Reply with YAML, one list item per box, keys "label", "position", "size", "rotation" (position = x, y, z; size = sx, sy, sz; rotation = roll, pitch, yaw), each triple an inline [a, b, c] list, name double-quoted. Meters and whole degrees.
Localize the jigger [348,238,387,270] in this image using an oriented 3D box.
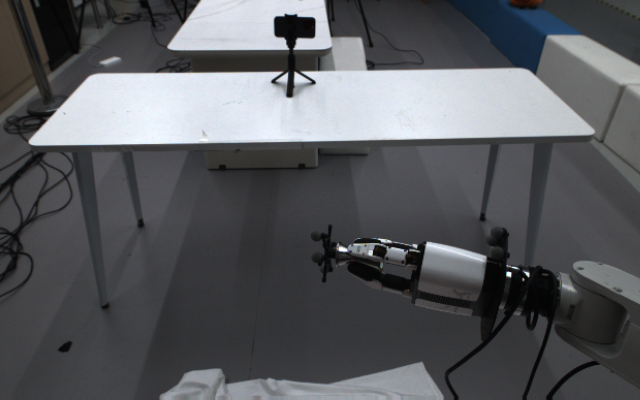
- label: "jigger"
  position: [0.067, 0.080, 0.729]
  size: [0.071, 0.043, 0.043]
  rotation: [3, 34, 15]
